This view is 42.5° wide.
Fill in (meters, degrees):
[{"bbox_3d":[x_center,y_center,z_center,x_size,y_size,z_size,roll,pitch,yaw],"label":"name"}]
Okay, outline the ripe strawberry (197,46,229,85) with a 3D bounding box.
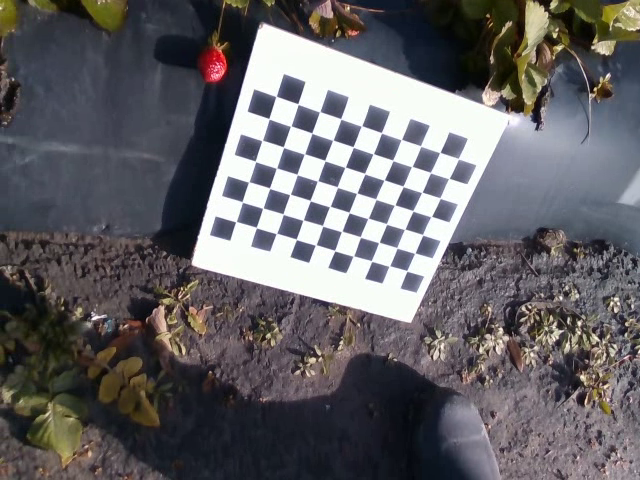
[{"bbox_3d":[-0.086,-0.147,0.712,0.035,0.037,0.033,15,-32,-19],"label":"ripe strawberry"}]
